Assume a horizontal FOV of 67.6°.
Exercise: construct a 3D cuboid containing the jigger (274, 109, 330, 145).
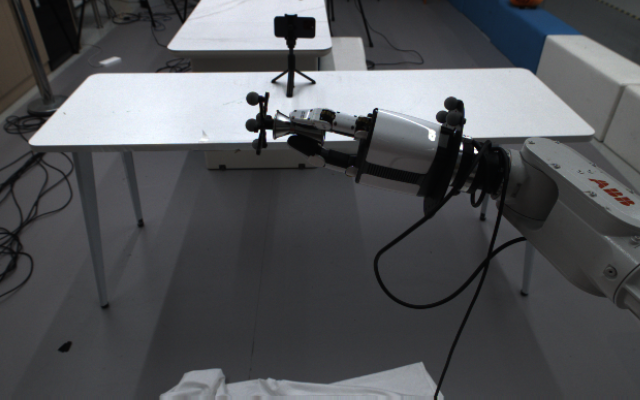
[{"bbox_3d":[-0.020,-0.102,0.658,0.071,0.043,0.043,6,35,2],"label":"jigger"}]
